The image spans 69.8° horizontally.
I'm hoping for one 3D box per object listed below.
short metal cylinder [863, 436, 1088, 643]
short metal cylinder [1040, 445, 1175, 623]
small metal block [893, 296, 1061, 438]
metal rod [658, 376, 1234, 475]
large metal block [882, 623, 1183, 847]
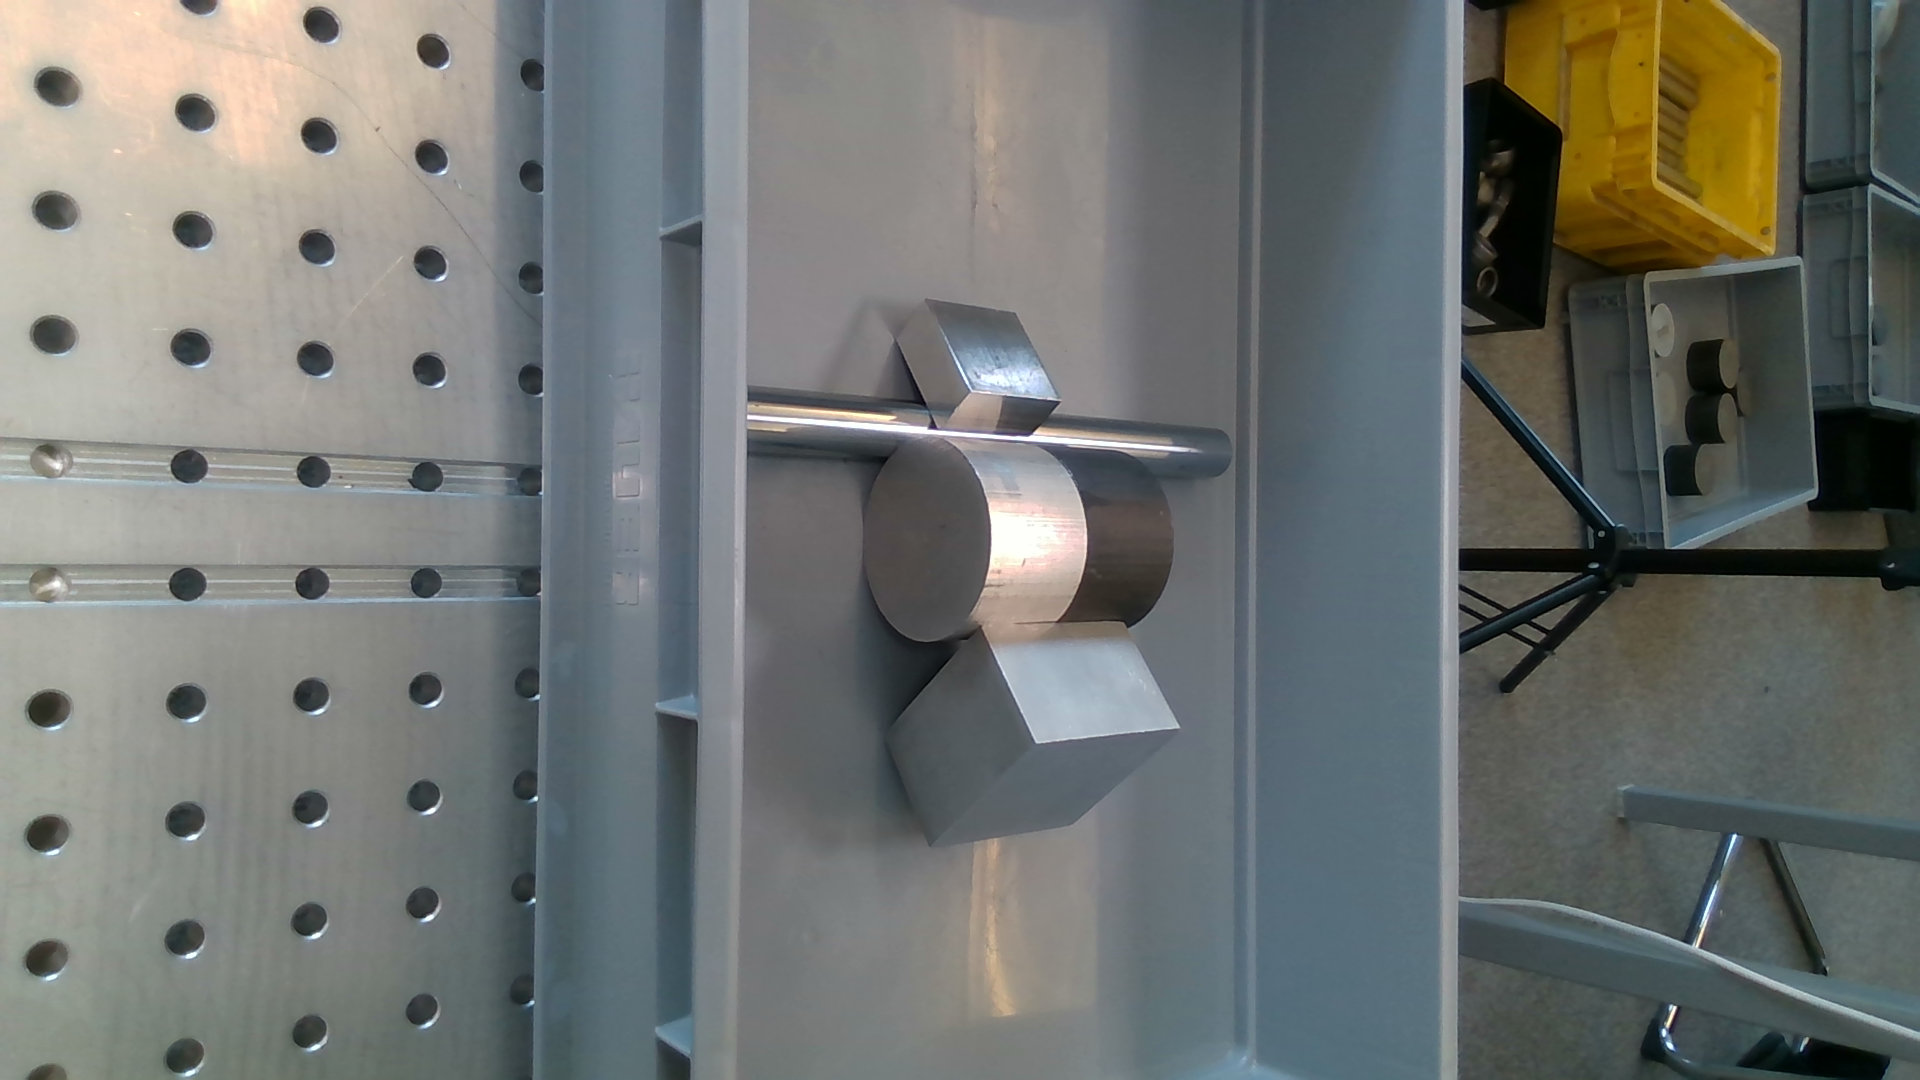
[{"bbox_3d":[0.005,0.000,0.550,0.050,0.080,0.080,0,90,-40],"label":"short metal cylinder"},{"bbox_3d":[0.044,0.000,0.583,0.050,0.080,0.080,0,90,-40],"label":"short metal cylinder"},{"bbox_3d":[0.007,-0.071,0.573,0.050,0.025,0.050,1,55,-41],"label":"small metal block"},{"bbox_3d":[0.012,-0.045,0.591,0.300,0.025,0.025,1,90,-40],"label":"metal rod"},{"bbox_3d":[0.028,0.078,0.561,0.080,0.080,0.050,1,51,-40],"label":"large metal block"}]
